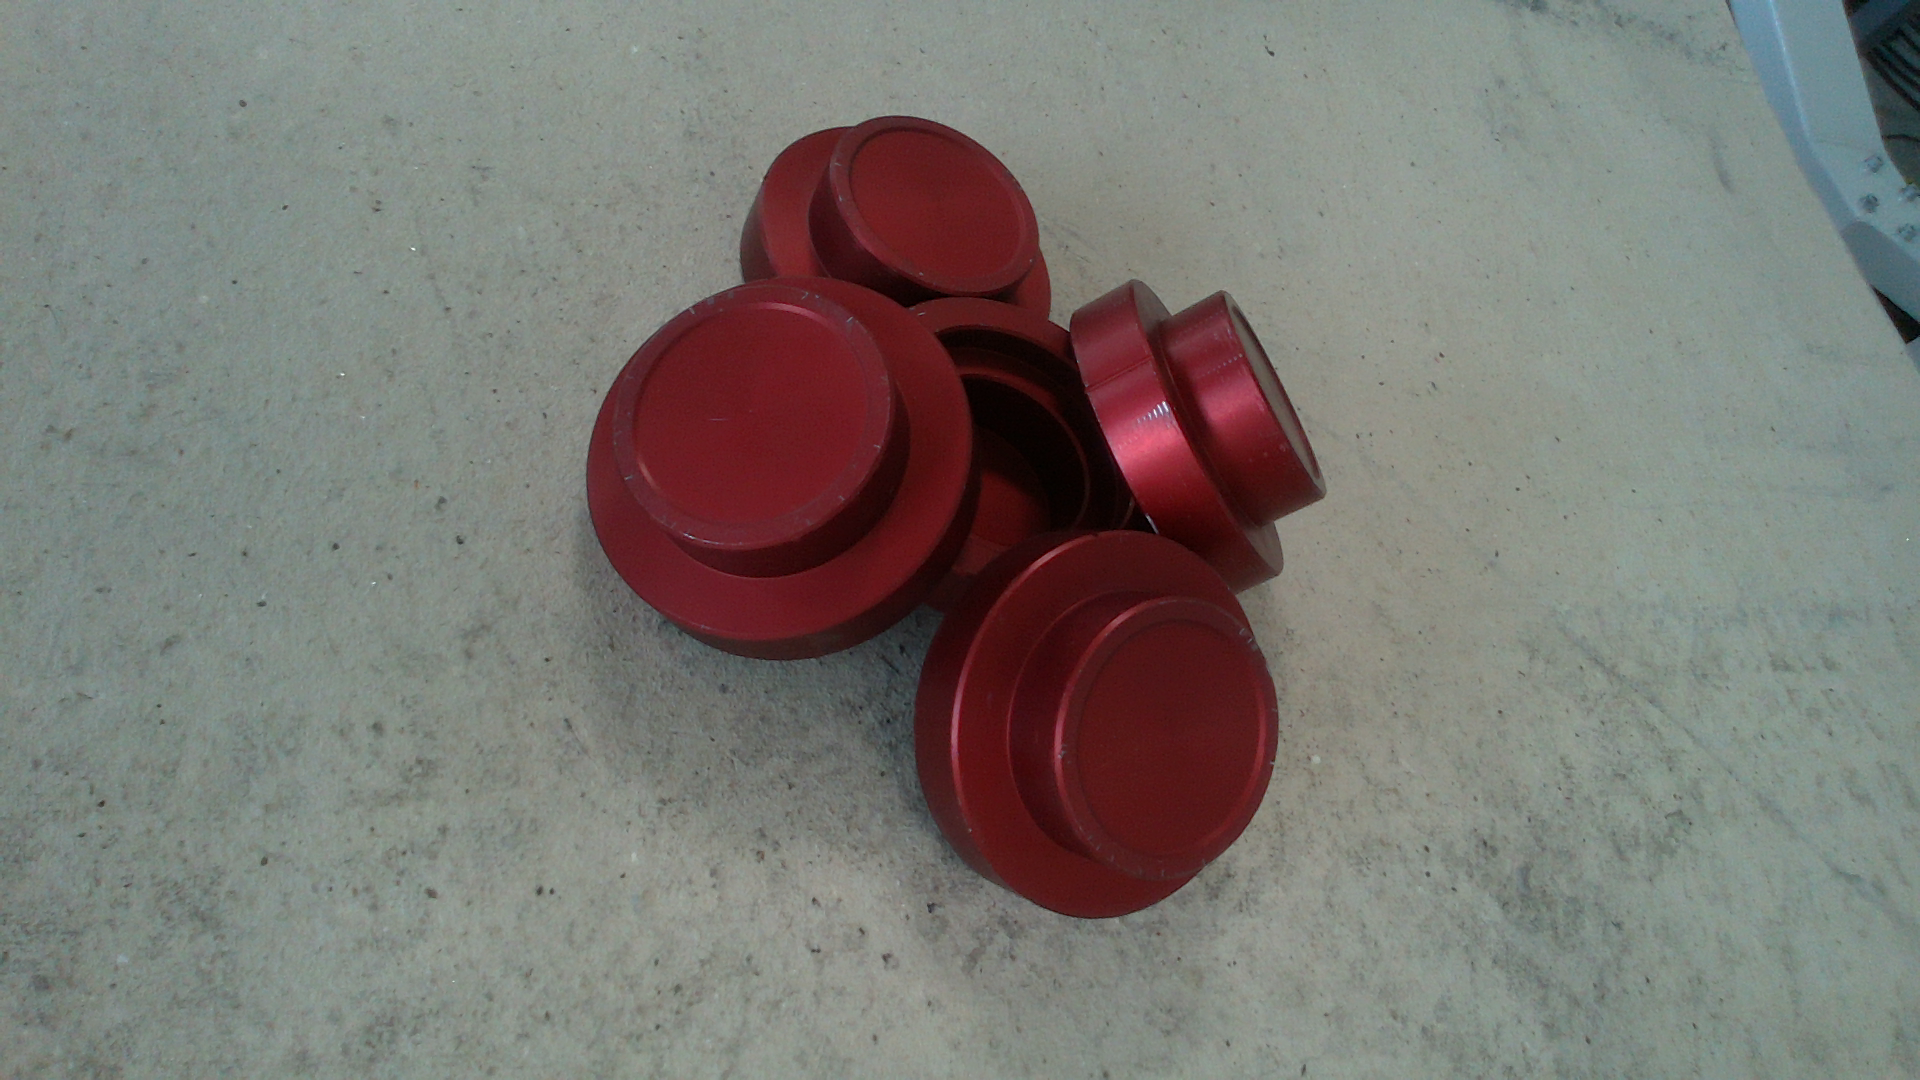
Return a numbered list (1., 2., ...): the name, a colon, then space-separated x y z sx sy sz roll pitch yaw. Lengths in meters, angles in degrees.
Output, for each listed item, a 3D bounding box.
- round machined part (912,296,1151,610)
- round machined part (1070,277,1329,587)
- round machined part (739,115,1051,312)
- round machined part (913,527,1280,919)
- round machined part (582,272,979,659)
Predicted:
1. round machined part: 0.007 -0.018 0.394 0.098 0.042 0.098 12 56 -19
2. round machined part: 0.075 -0.035 0.408 0.098 0.042 0.098 51 22 -30
3. round machined part: -0.015 -0.092 0.426 0.098 0.042 0.098 14 55 -20
4. round machined part: 0.041 0.046 0.345 0.098 0.042 0.098 -1 92 -30
5. round machined part: -0.046 -0.023 0.338 0.098 0.042 0.098 -2 70 7
